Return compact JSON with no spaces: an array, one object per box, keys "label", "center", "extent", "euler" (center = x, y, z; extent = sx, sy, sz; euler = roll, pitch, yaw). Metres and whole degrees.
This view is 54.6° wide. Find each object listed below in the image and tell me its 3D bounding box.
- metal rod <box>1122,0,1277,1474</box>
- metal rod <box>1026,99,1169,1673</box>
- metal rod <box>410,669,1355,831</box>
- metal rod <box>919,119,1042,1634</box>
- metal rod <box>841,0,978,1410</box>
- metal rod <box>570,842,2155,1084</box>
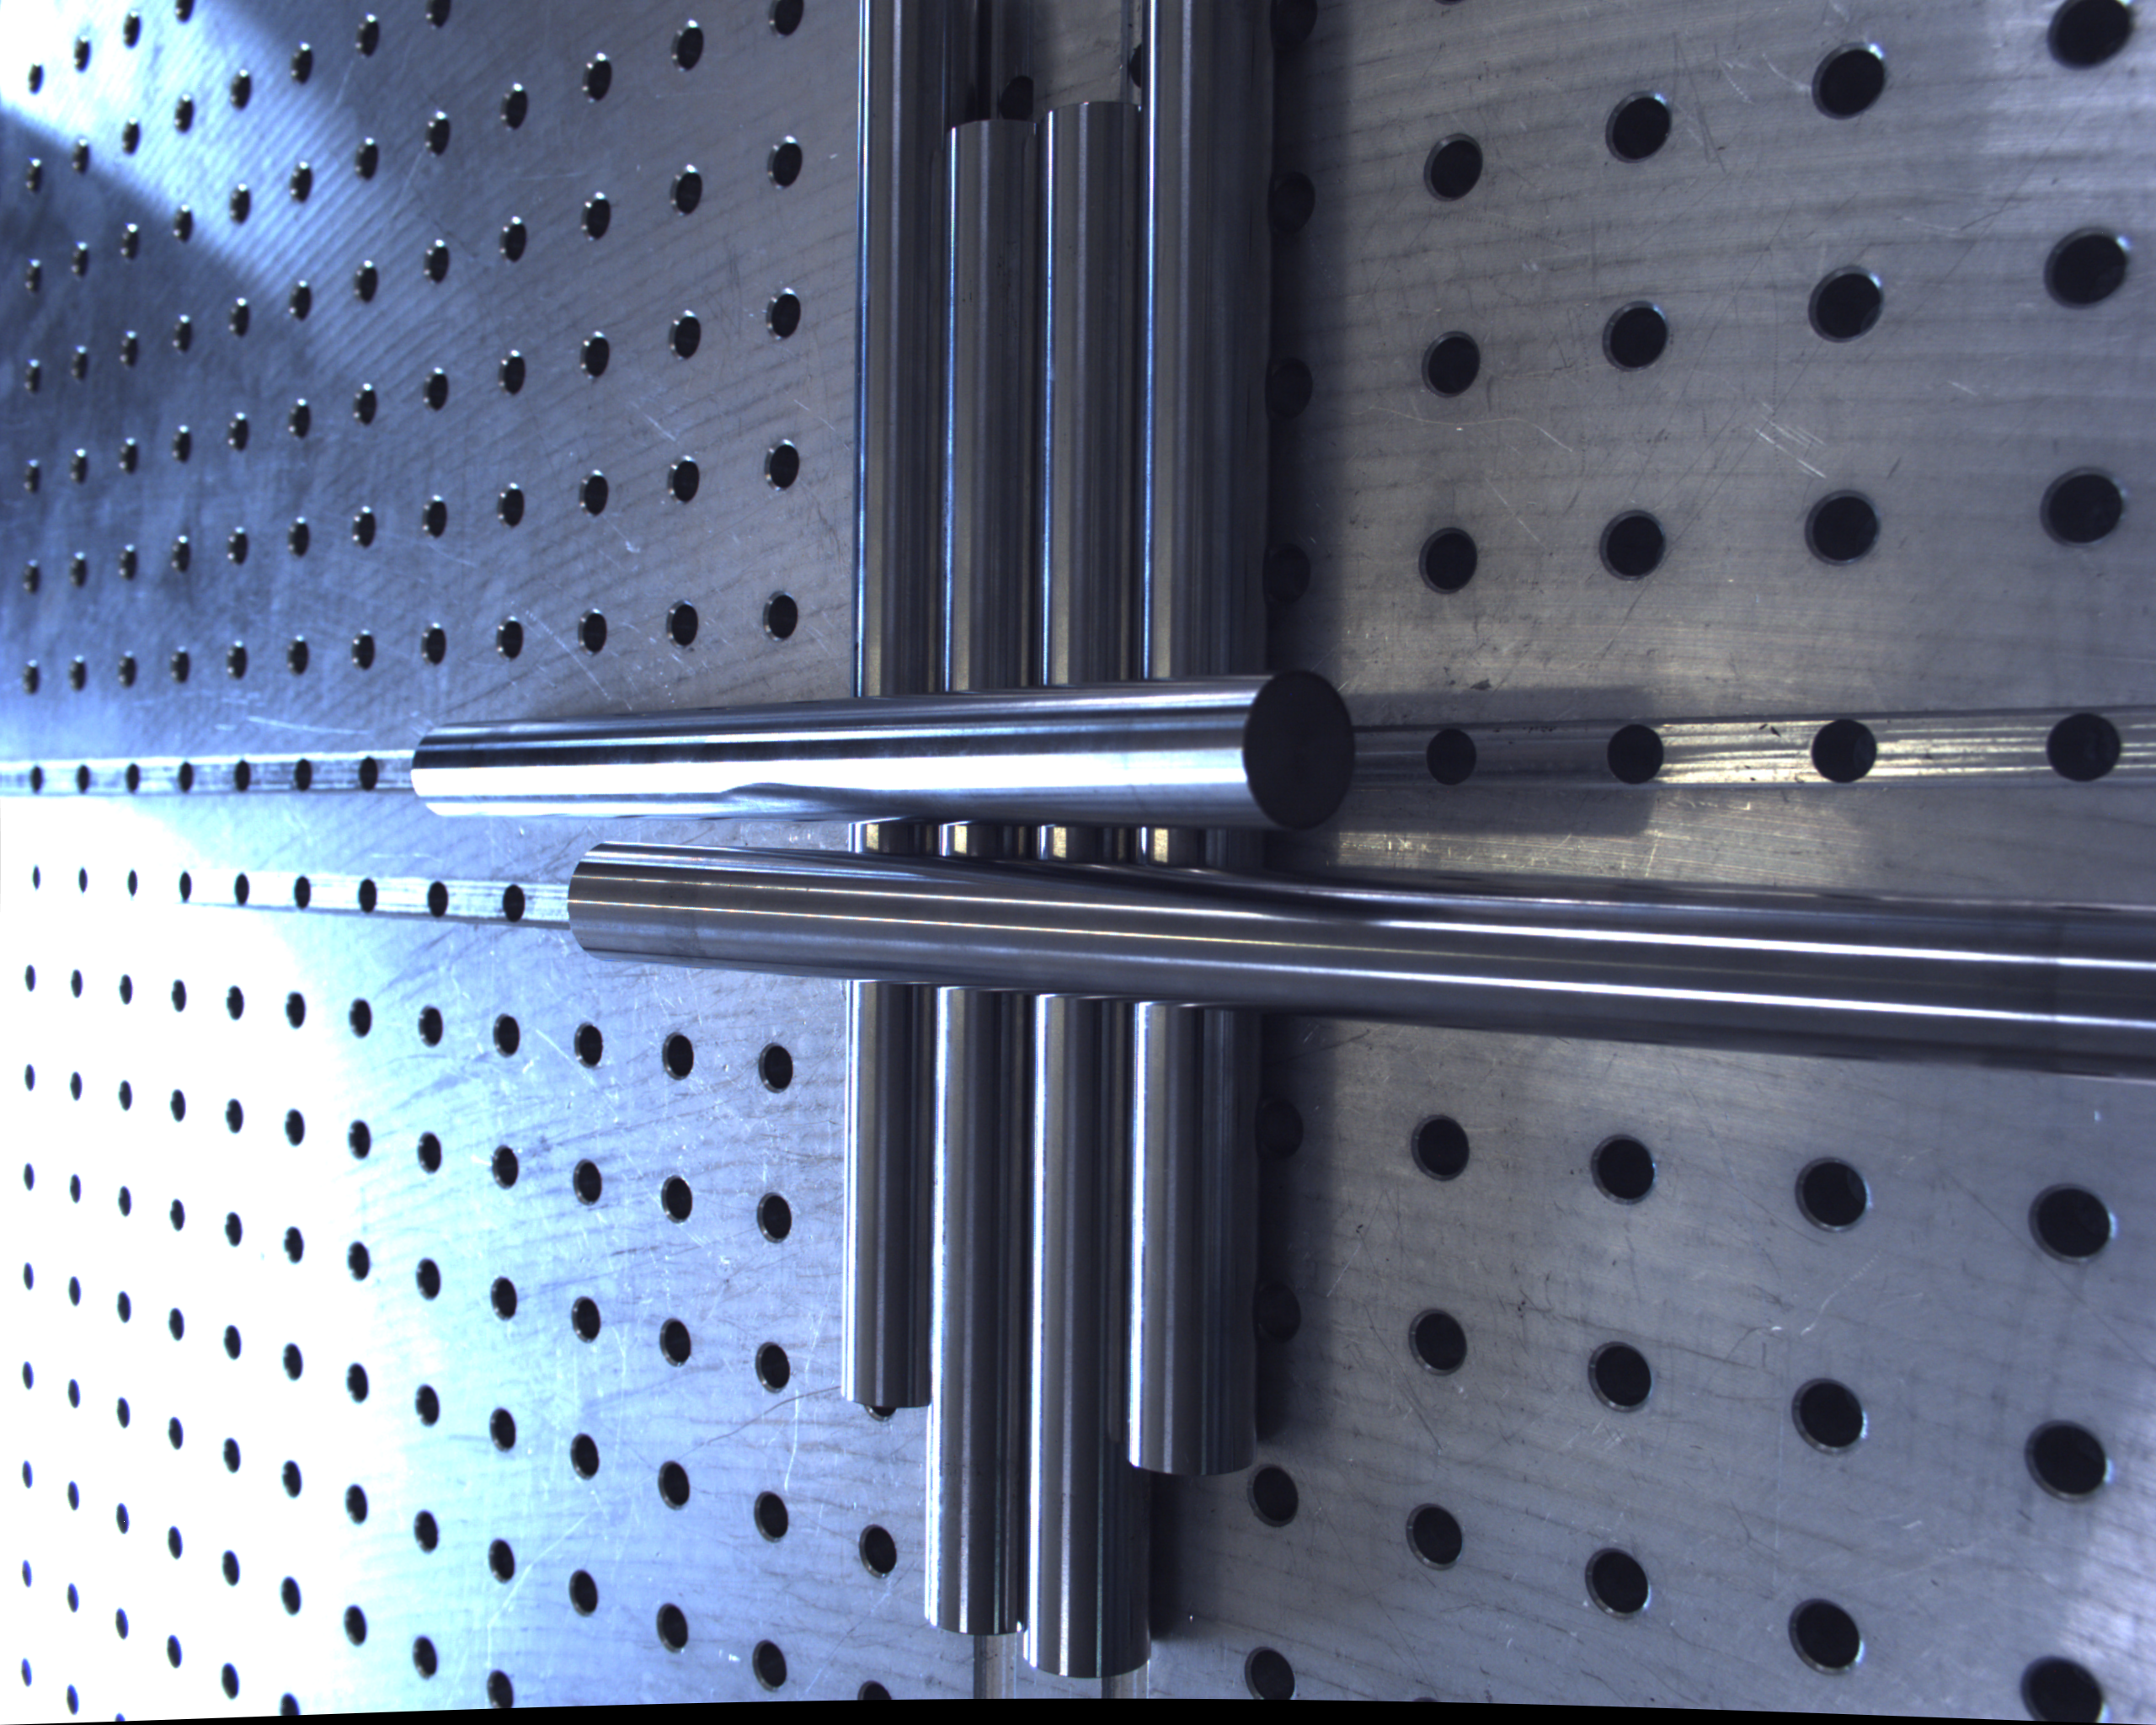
[{"label":"metal rod","center":[0.023,-0.038,0.390],"extent":[0.025,0.025,0.298],"euler":[1,91,40]},{"label":"metal rod","center":[0.004,0.005,0.408],"extent":[0.025,0.025,0.298],"euler":[1,91,40]},{"label":"metal rod","center":[-0.064,-0.021,0.433],"extent":[0.299,0.025,0.025],"euler":[2,91,49]},{"label":"metal rod","center":[-0.017,0.003,0.423],"extent":[0.025,0.025,0.298],"euler":[2,91,40]},{"label":"metal rod","center":[-0.035,-0.037,0.439],"extent":[0.025,0.025,0.298],"euler":[1,91,40]},{"label":"metal rod","center":[0.032,0.013,0.357],"extent":[0.300,0.025,0.025],"euler":[2,92,31]}]
